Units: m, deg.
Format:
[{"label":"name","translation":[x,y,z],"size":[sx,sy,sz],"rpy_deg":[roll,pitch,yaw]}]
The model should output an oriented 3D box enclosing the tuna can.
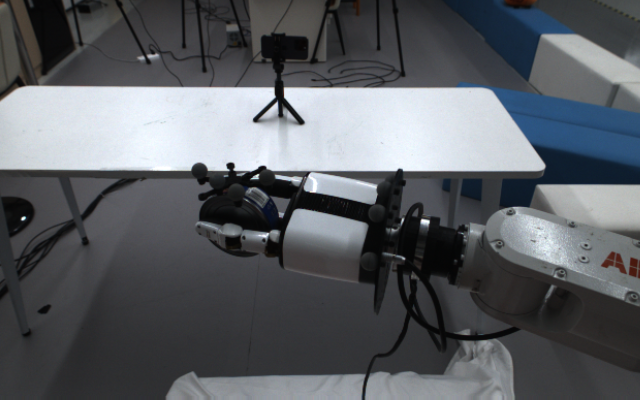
[{"label":"tuna can","translation":[-0.089,0.021,0.553],"size":[0.085,0.085,0.034],"rpy_deg":[11,34,12]}]
